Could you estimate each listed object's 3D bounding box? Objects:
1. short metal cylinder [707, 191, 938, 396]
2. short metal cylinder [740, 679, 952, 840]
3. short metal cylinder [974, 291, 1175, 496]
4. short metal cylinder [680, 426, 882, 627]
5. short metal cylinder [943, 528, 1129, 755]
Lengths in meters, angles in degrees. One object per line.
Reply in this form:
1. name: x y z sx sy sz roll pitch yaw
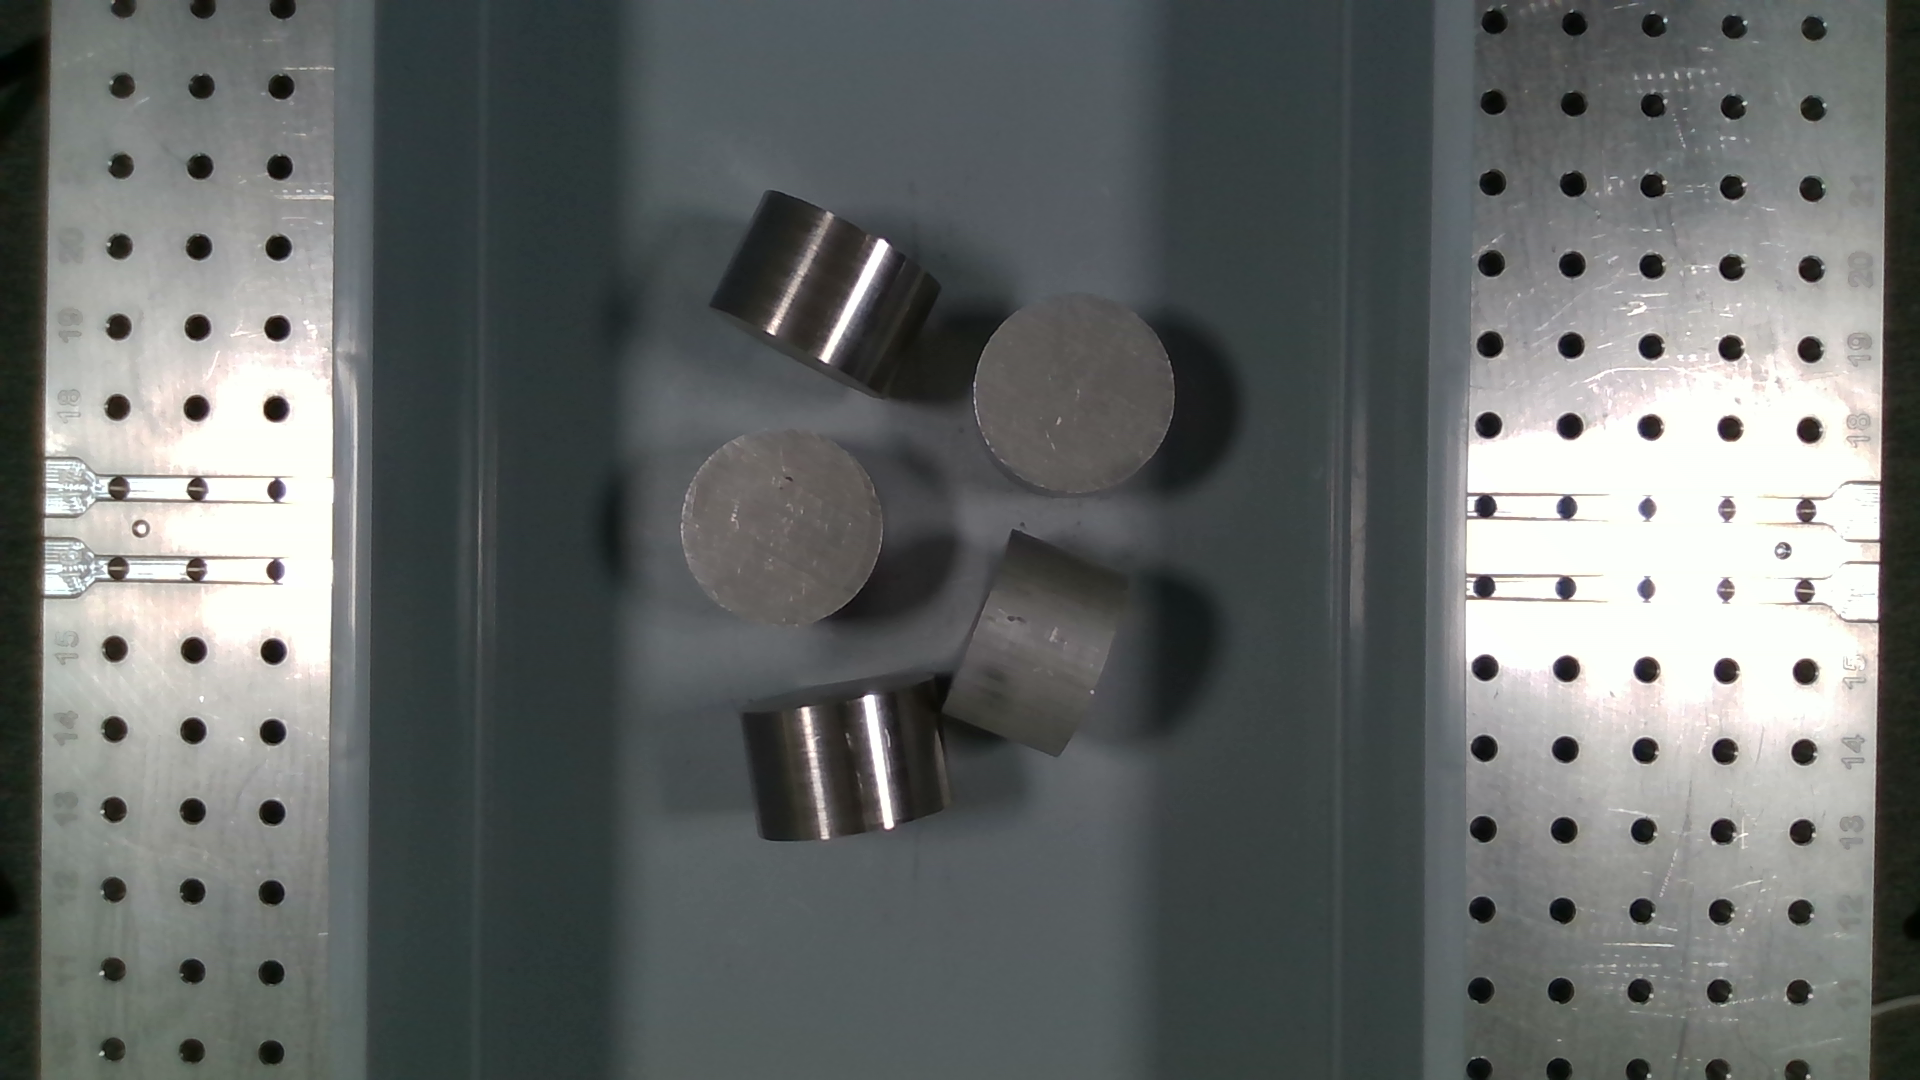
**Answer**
1. short metal cylinder: -0.055 -0.098 0.557 0.080 0.080 0.050 27 90 0
2. short metal cylinder: -0.047 0.086 0.559 0.080 0.080 0.050 -9 90 0
3. short metal cylinder: 0.046 -0.059 0.573 0.080 0.050 0.080 0 90 0
4. short metal cylinder: -0.071 -0.005 0.573 0.080 0.050 0.080 0 90 0
5. short metal cylinder: 0.030 0.041 0.560 0.050 0.080 0.080 22 90 0
